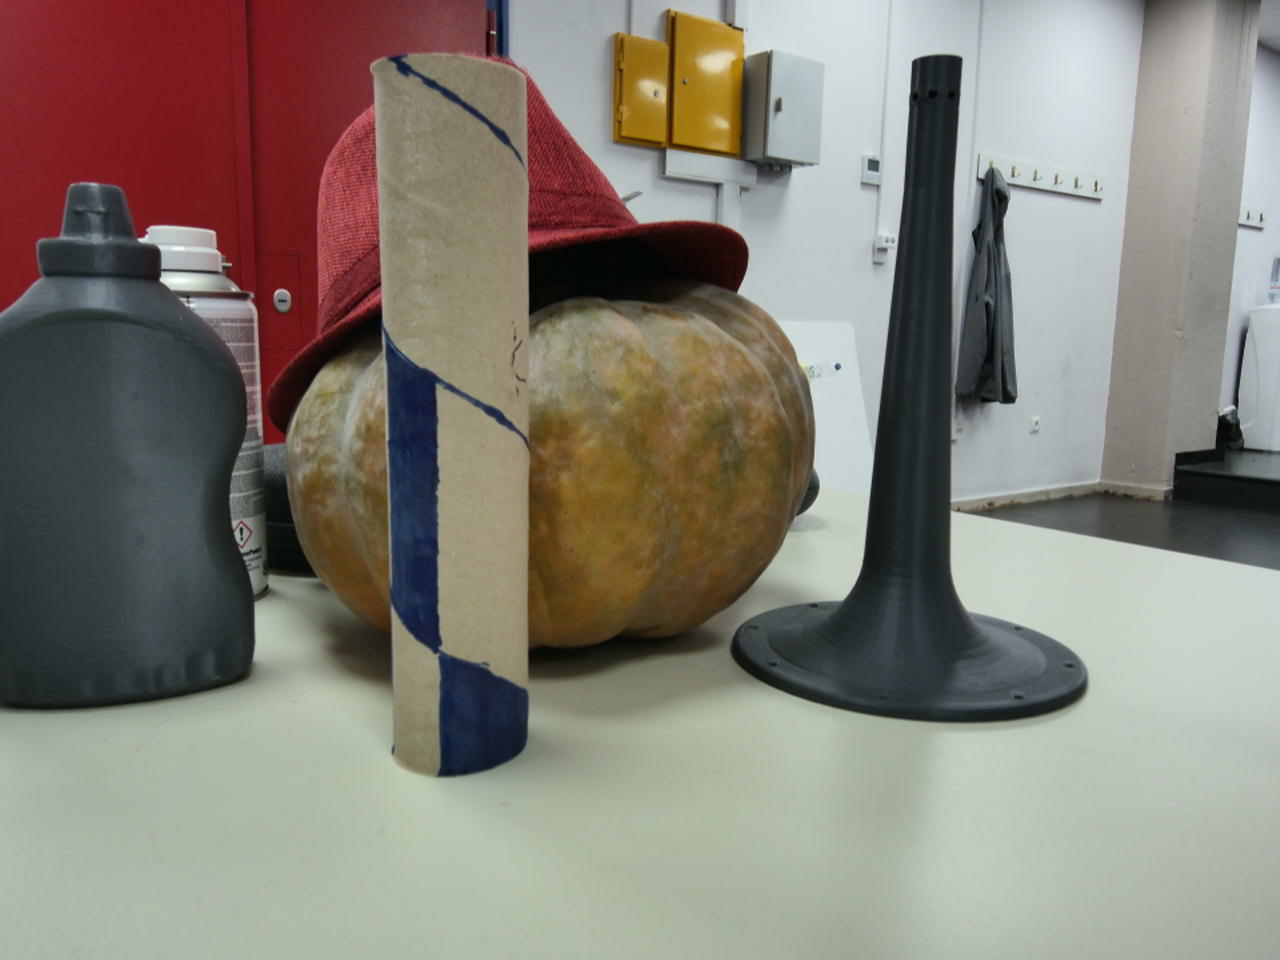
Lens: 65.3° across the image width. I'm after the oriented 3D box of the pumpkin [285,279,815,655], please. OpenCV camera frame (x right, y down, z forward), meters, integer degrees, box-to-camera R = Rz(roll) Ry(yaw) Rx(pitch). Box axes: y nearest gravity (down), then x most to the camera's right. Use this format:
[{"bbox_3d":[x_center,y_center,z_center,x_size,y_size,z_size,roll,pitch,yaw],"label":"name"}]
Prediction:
[{"bbox_3d":[-0.043,-0.012,0.478,0.252,0.168,0.252,1,6,0],"label":"pumpkin"}]
